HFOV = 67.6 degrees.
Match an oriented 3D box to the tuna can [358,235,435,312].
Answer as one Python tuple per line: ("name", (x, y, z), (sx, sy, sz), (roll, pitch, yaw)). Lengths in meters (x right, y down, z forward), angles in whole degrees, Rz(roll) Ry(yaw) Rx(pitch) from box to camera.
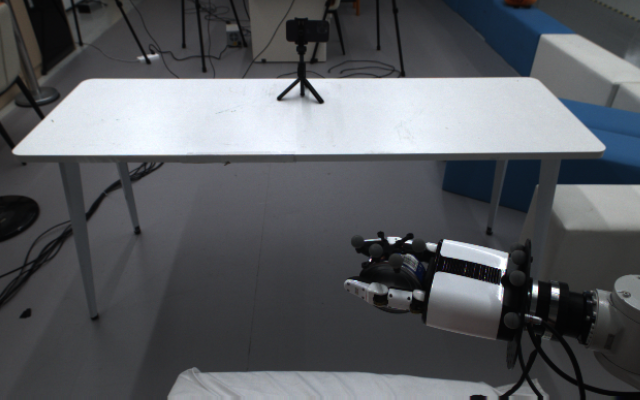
("tuna can", (0.098, 0.104, 0.634), (0.085, 0.085, 0.034), (15, 34, 18))
